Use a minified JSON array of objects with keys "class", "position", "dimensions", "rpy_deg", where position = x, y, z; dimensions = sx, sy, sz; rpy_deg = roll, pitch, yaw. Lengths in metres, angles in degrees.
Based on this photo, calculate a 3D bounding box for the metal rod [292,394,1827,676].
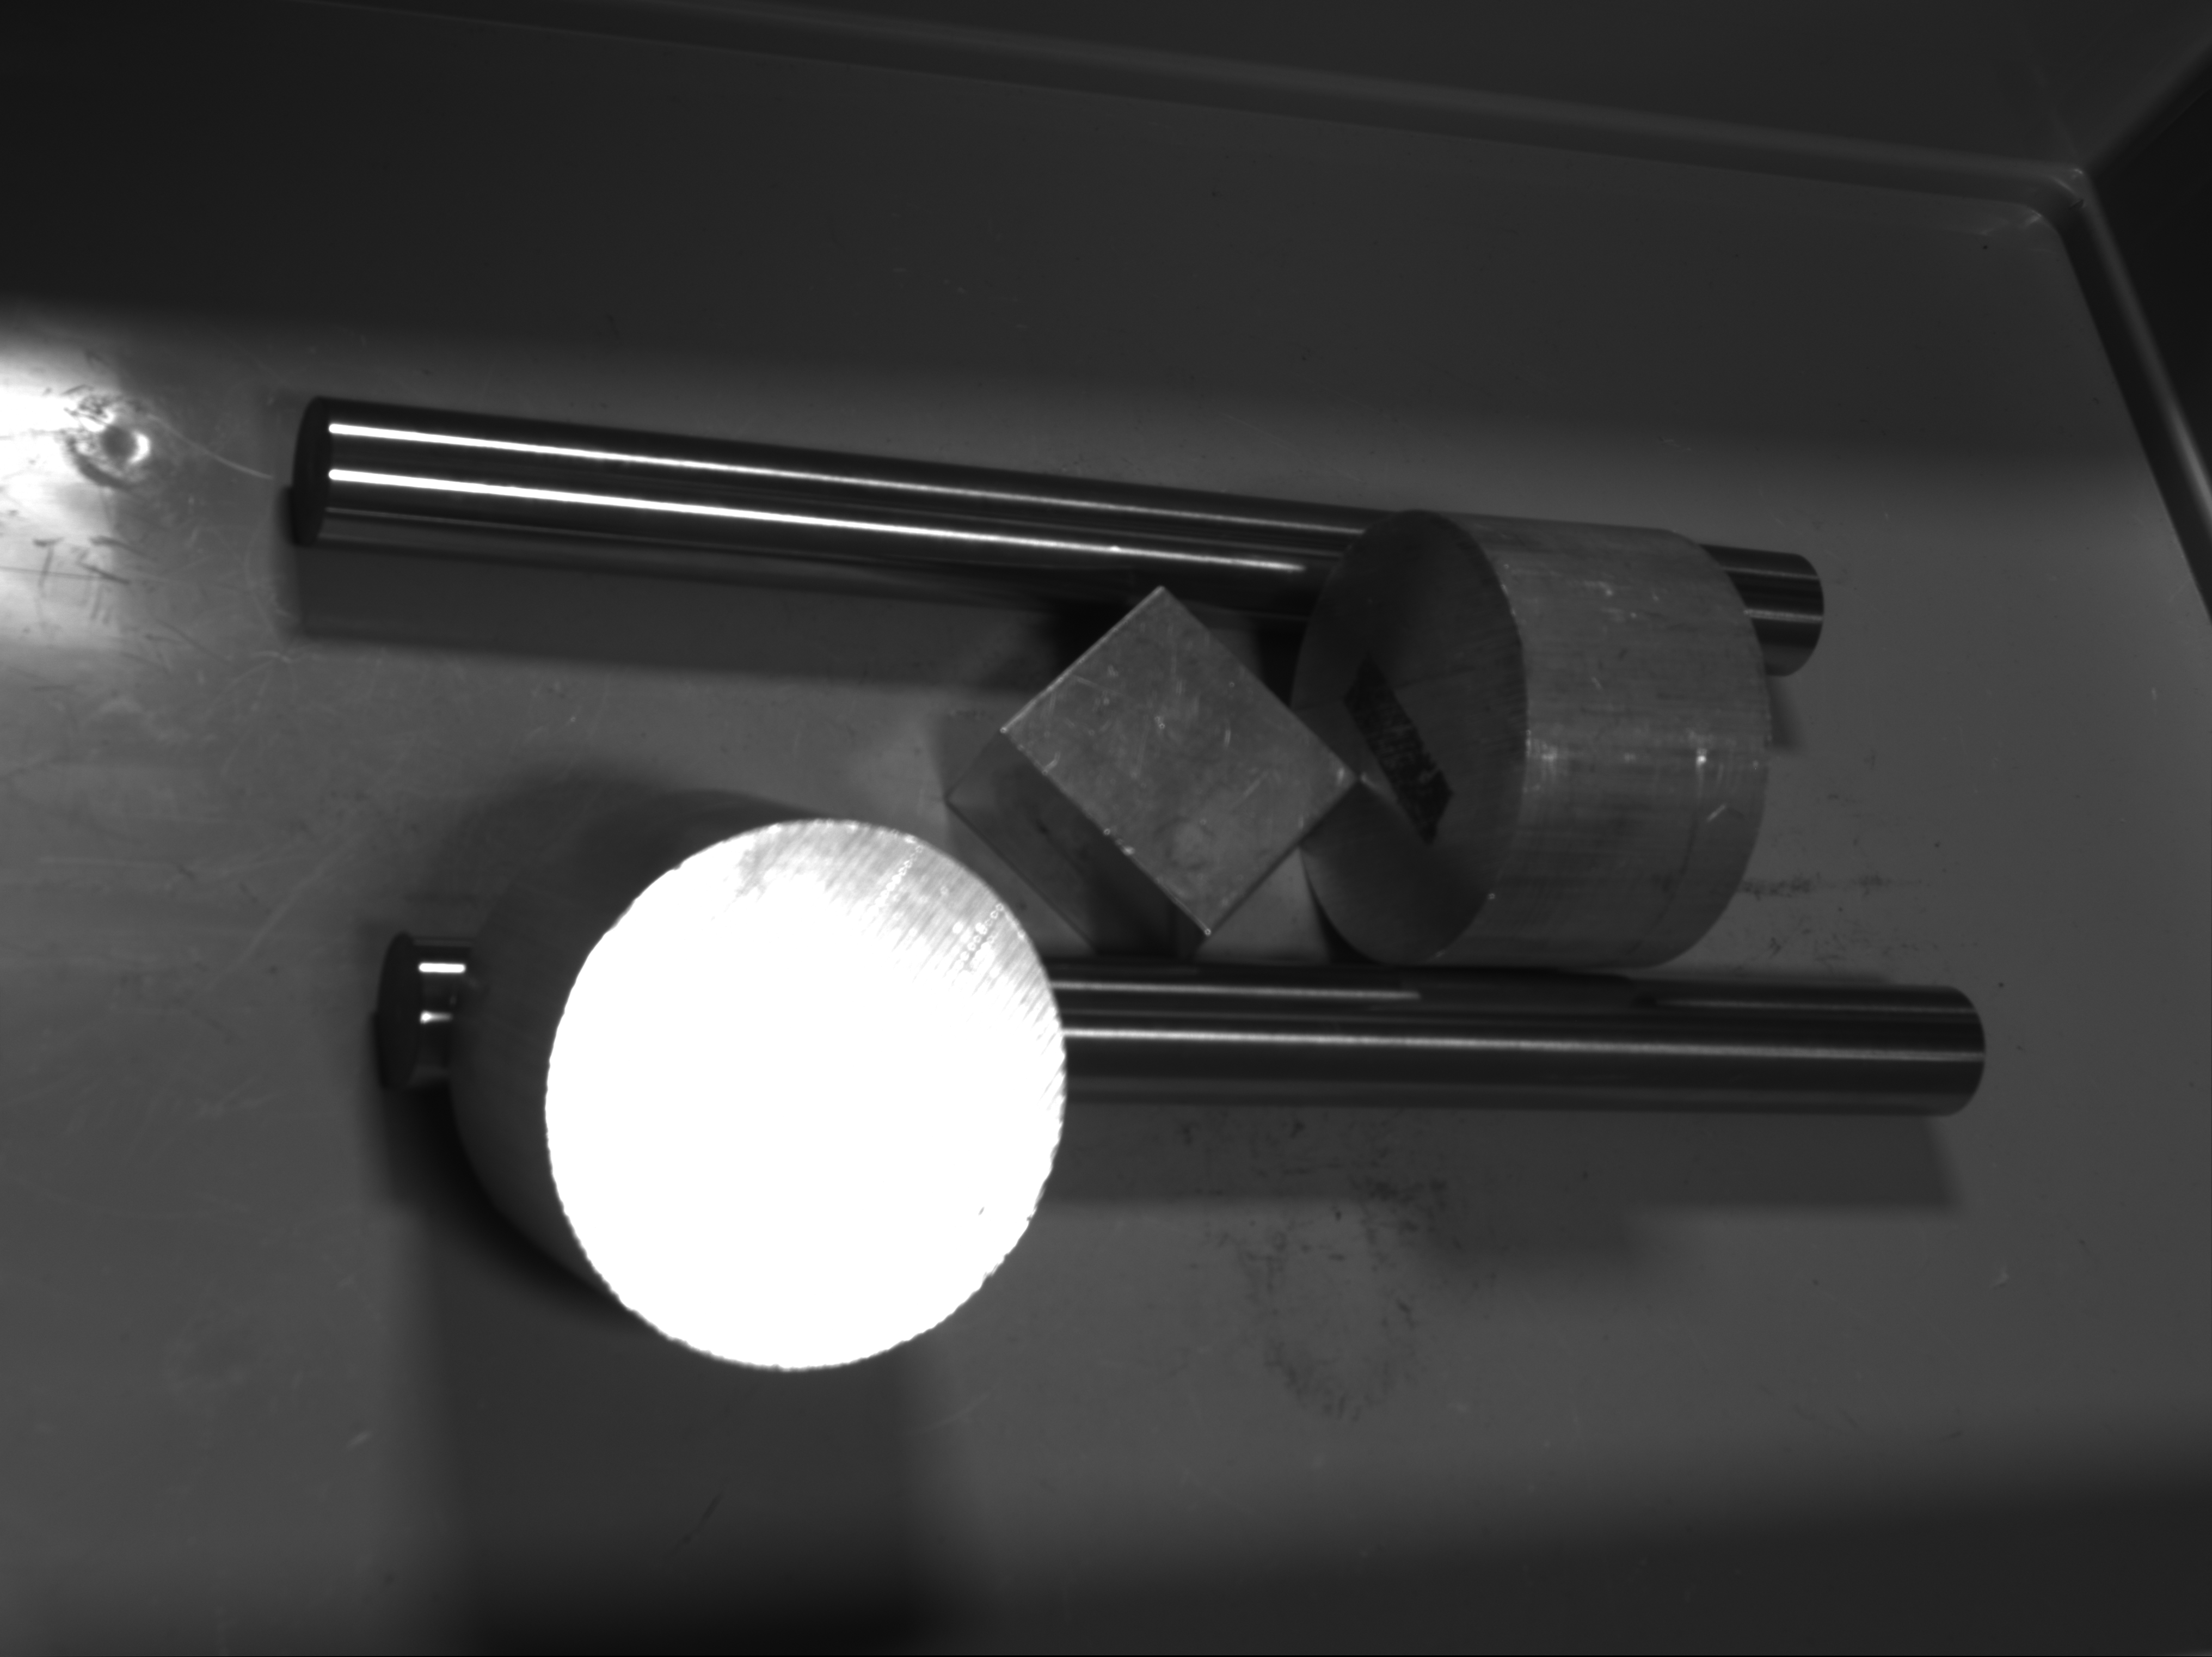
[{"class":"metal rod","position":[0.003,-0.051,0.671],"dimensions":[0.301,0.025,0.025],"rpy_deg":[3,60,-27]}]

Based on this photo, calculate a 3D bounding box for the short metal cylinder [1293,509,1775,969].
[{"class":"short metal cylinder","position":[0.074,-0.015,0.653],"dimensions":[0.050,0.080,0.080],"rpy_deg":[2,61,-27]}]

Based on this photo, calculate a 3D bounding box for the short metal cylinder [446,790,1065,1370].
[{"class":"short metal cylinder","position":[-0.053,0.036,0.549],"dimensions":[0.080,0.050,0.080],"rpy_deg":[-3,97,-26]}]

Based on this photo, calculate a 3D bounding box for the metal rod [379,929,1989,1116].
[{"class":"metal rod","position":[0.026,0.035,0.630],"dimensions":[0.301,0.025,0.025],"rpy_deg":[3,60,-27]}]

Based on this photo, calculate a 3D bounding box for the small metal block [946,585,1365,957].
[{"class":"small metal block","position":[0.009,-0.007,0.647],"dimensions":[0.050,0.025,0.050],"rpy_deg":[44,51,2]}]
